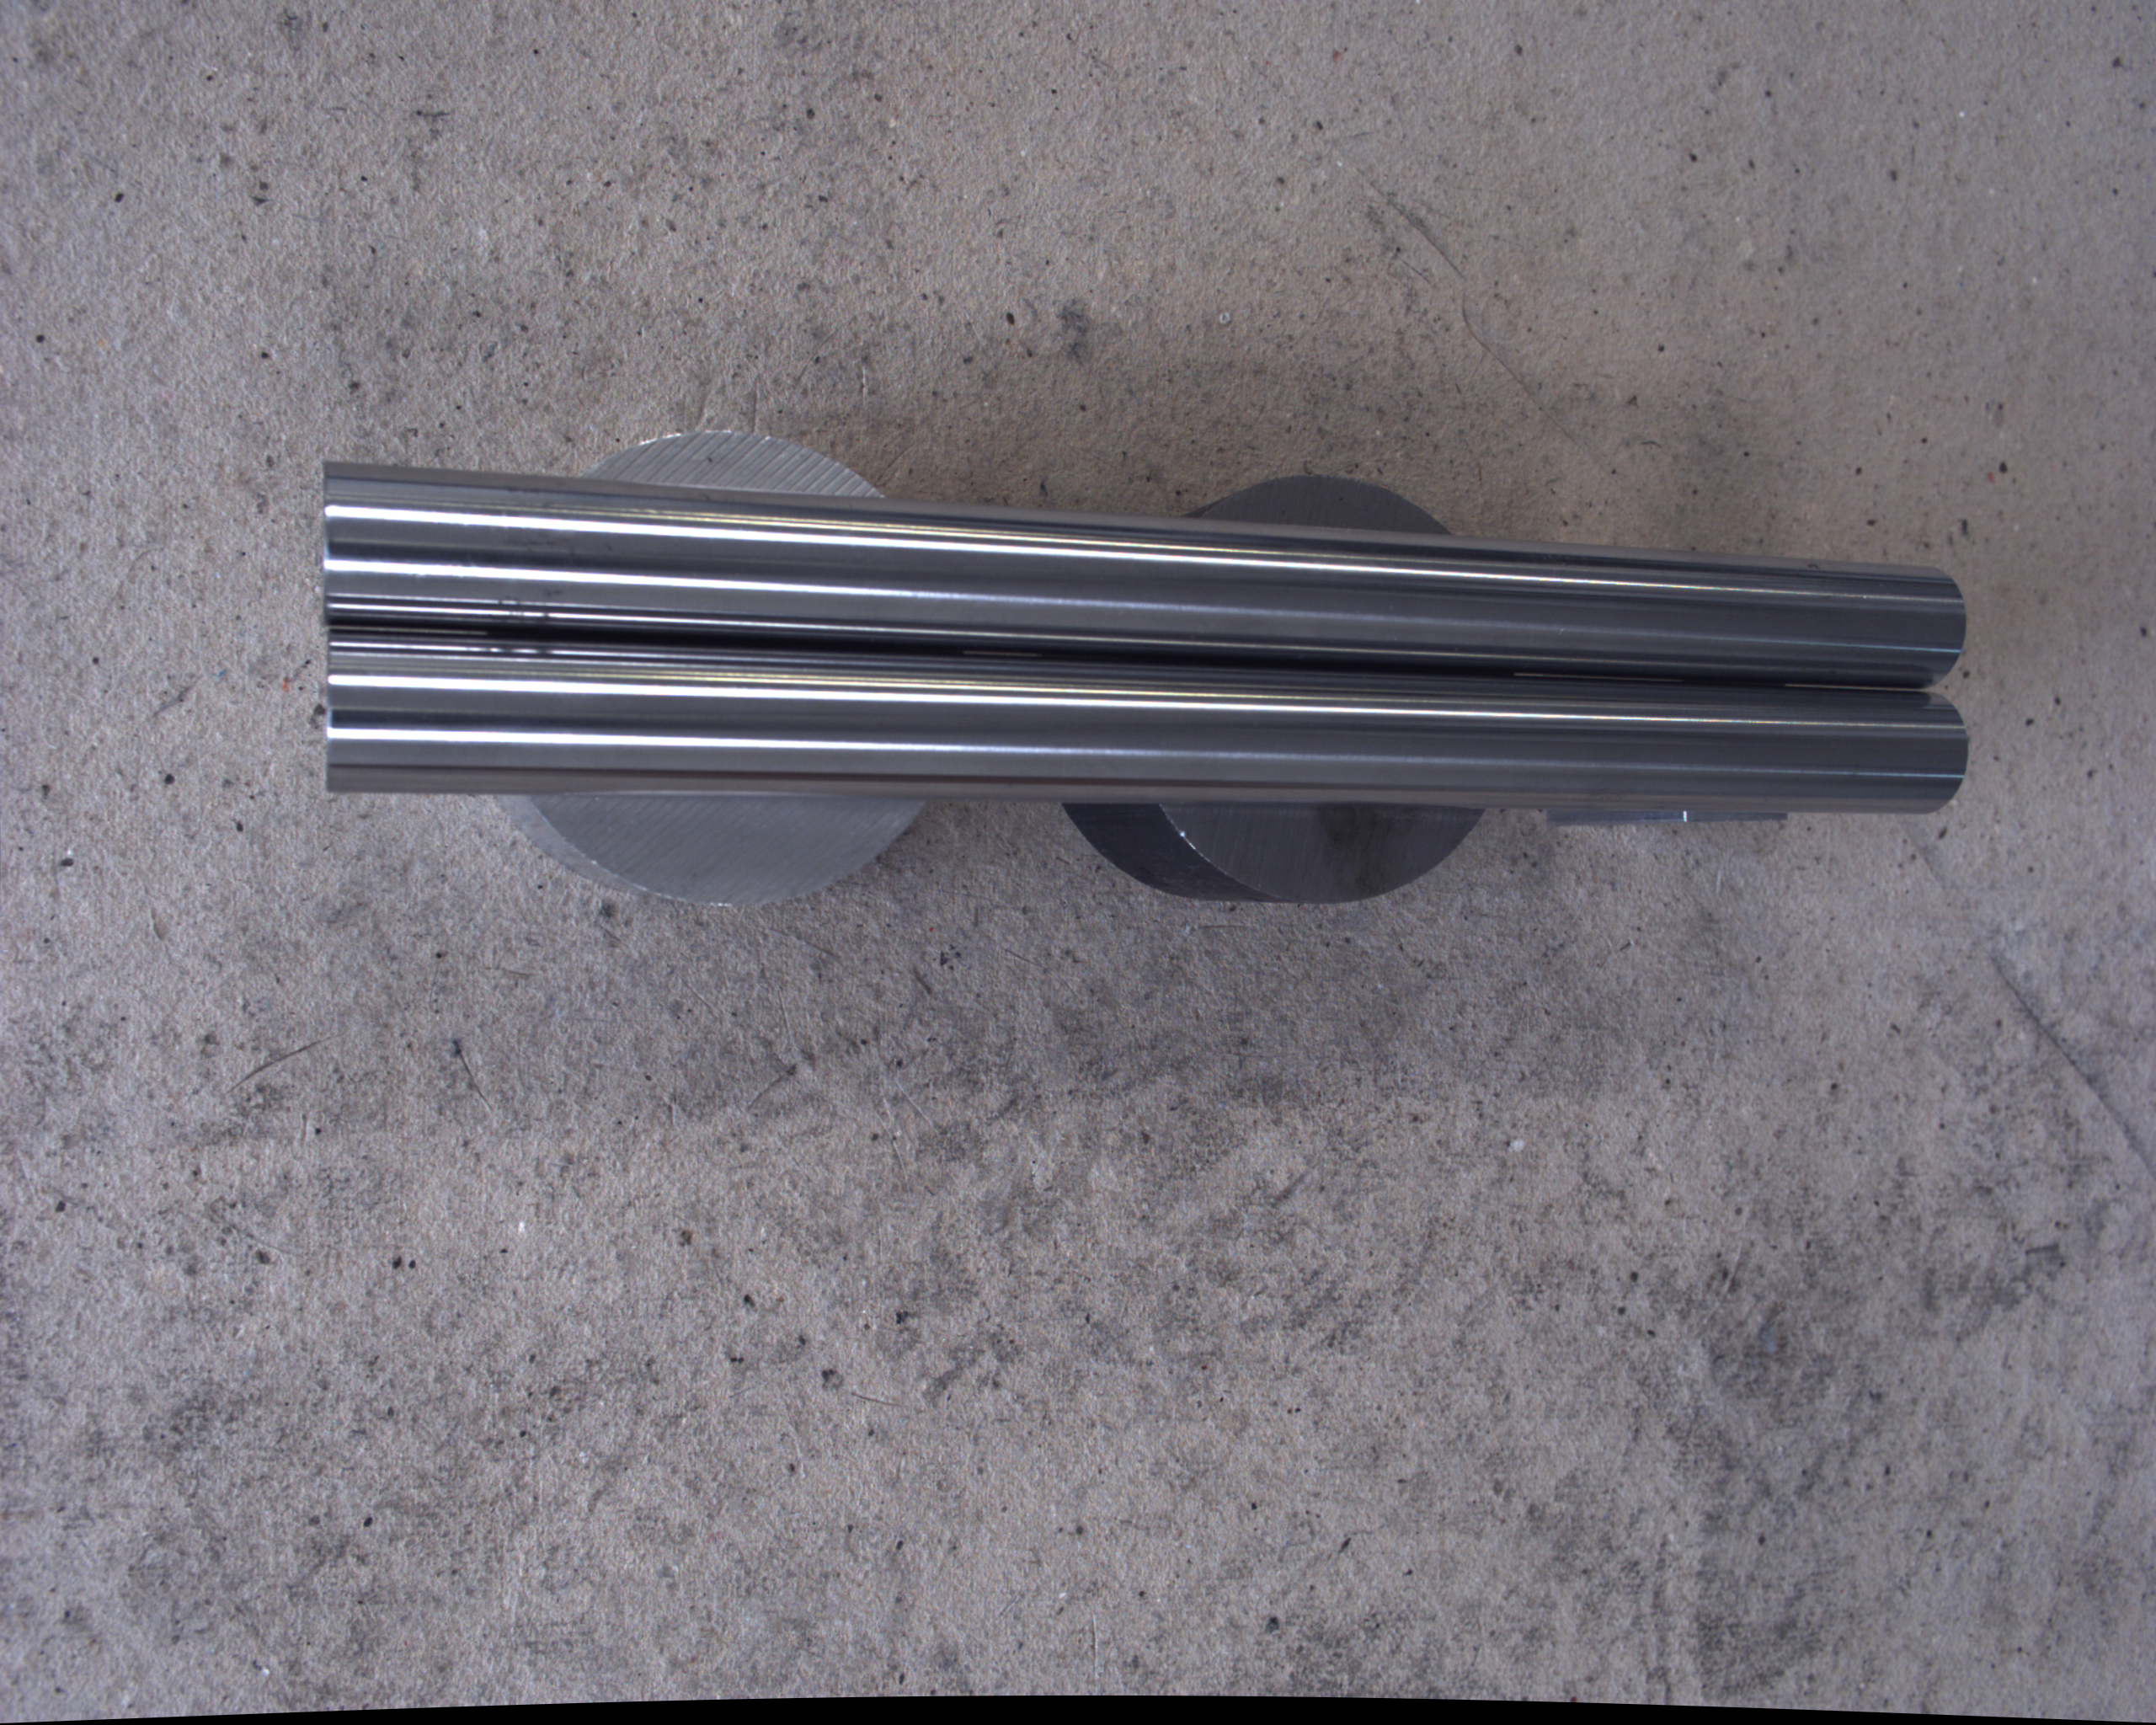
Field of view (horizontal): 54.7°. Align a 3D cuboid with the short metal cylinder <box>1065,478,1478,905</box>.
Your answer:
[{"bbox_3d":[0.038,-0.032,0.412,0.081,0.050,0.080,0,90,-20],"label":"short metal cylinder"}]

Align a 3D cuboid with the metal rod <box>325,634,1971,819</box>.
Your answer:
[{"bbox_3d":[0.028,-0.022,0.367,0.302,0.025,0.025,0,90,-20],"label":"metal rod"}]

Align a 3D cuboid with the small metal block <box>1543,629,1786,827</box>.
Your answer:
[{"bbox_3d":[0.123,-0.033,0.444,0.025,0.050,0.050,-2,90,-20],"label":"small metal block"}]

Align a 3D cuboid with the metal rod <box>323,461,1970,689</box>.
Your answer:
[{"bbox_3d":[0.028,-0.048,0.367,0.302,0.025,0.025,0,90,-20],"label":"metal rod"}]

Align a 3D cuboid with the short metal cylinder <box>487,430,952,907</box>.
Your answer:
[{"bbox_3d":[-0.066,-0.033,0.372,0.081,0.050,0.080,0,90,-20],"label":"short metal cylinder"}]
